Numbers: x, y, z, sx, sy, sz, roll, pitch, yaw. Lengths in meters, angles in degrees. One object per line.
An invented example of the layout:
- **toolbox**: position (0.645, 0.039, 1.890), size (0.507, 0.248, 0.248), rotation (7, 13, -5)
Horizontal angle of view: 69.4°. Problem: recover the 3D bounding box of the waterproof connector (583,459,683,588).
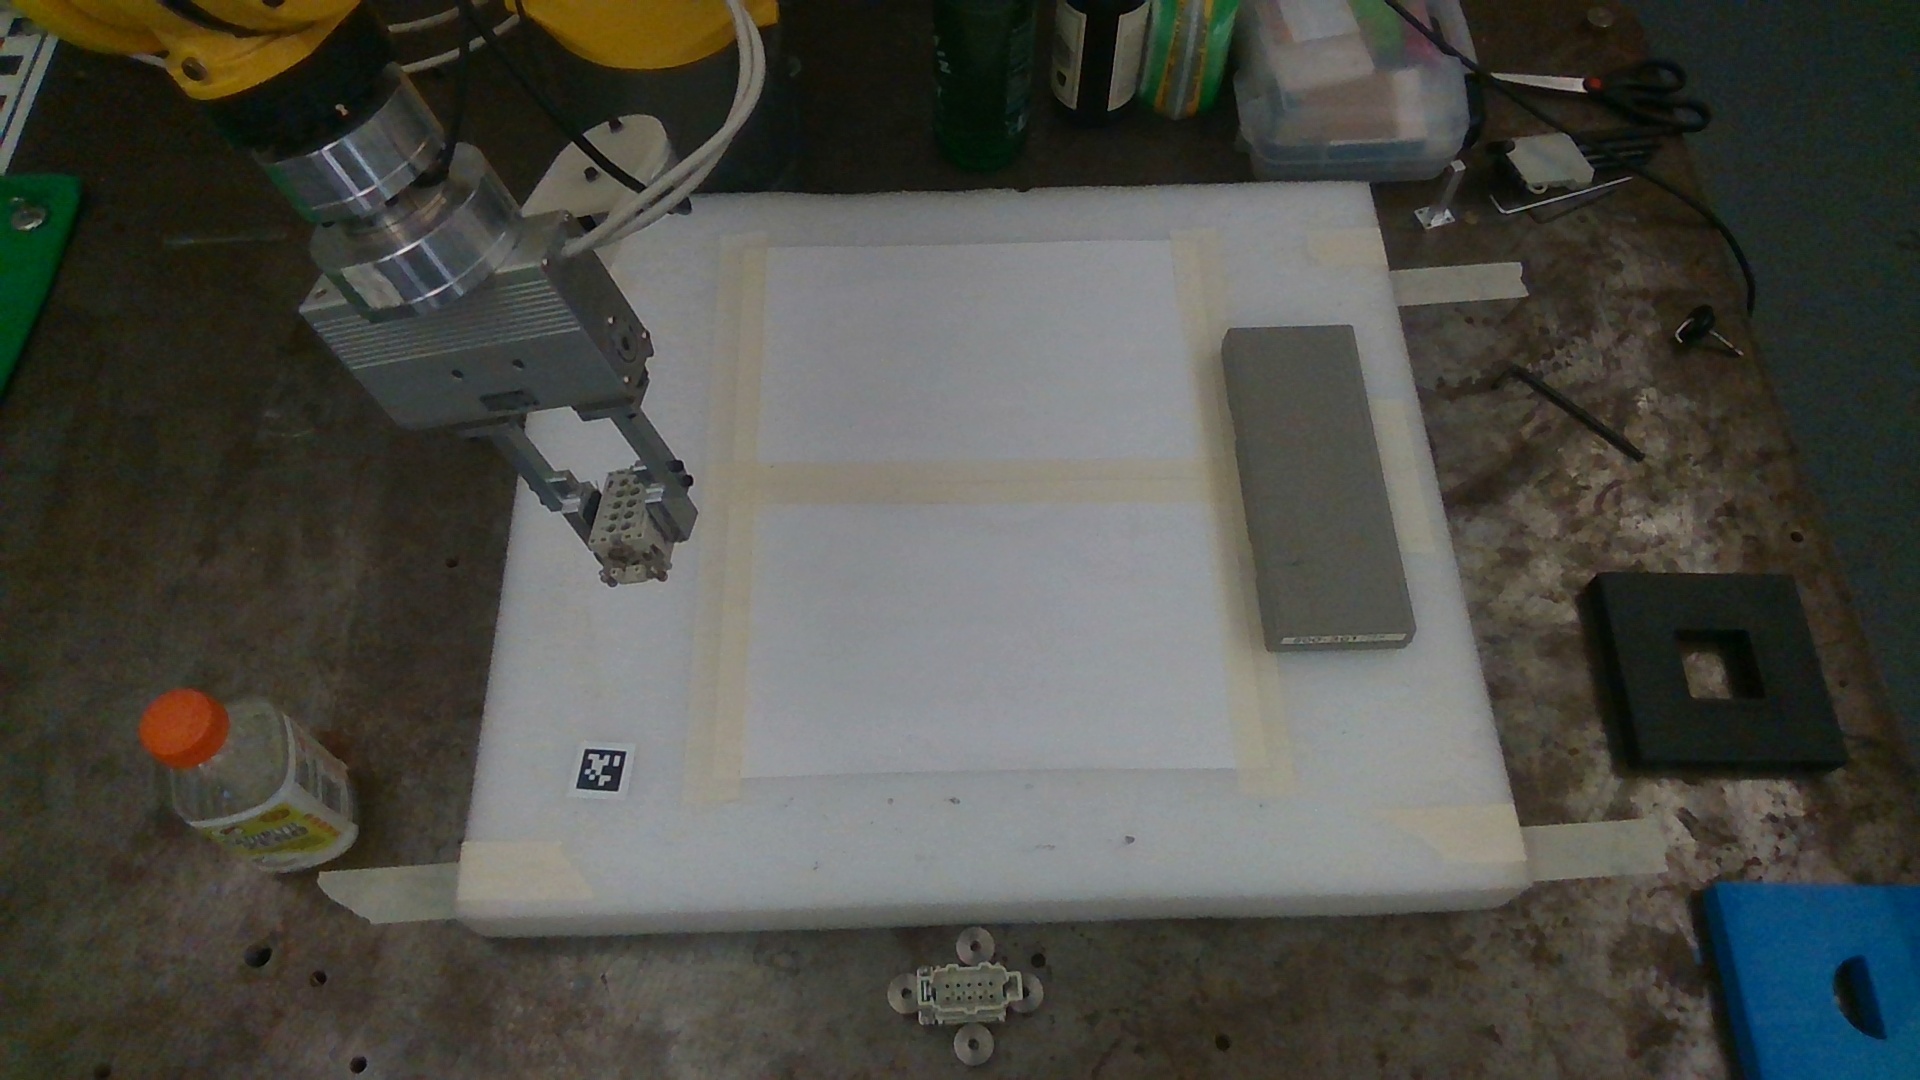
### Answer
- **waterproof connector**: position (-0.163, -0.009, 0.705), size (0.037, 0.038, 0.069), rotation (-3, 59, 16)
